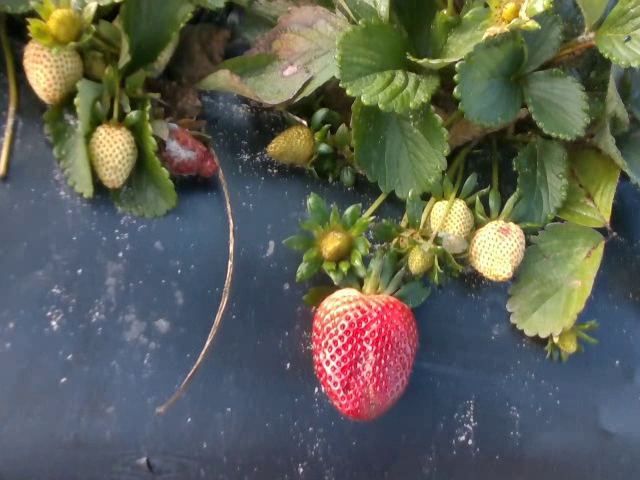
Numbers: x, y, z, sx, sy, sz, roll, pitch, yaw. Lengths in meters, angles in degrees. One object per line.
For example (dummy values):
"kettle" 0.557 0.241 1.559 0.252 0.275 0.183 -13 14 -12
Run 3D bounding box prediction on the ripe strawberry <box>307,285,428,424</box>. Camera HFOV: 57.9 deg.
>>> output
"ripe strawberry" 0.020 0.054 0.273 0.052 0.068 0.045 14 -42 -9
